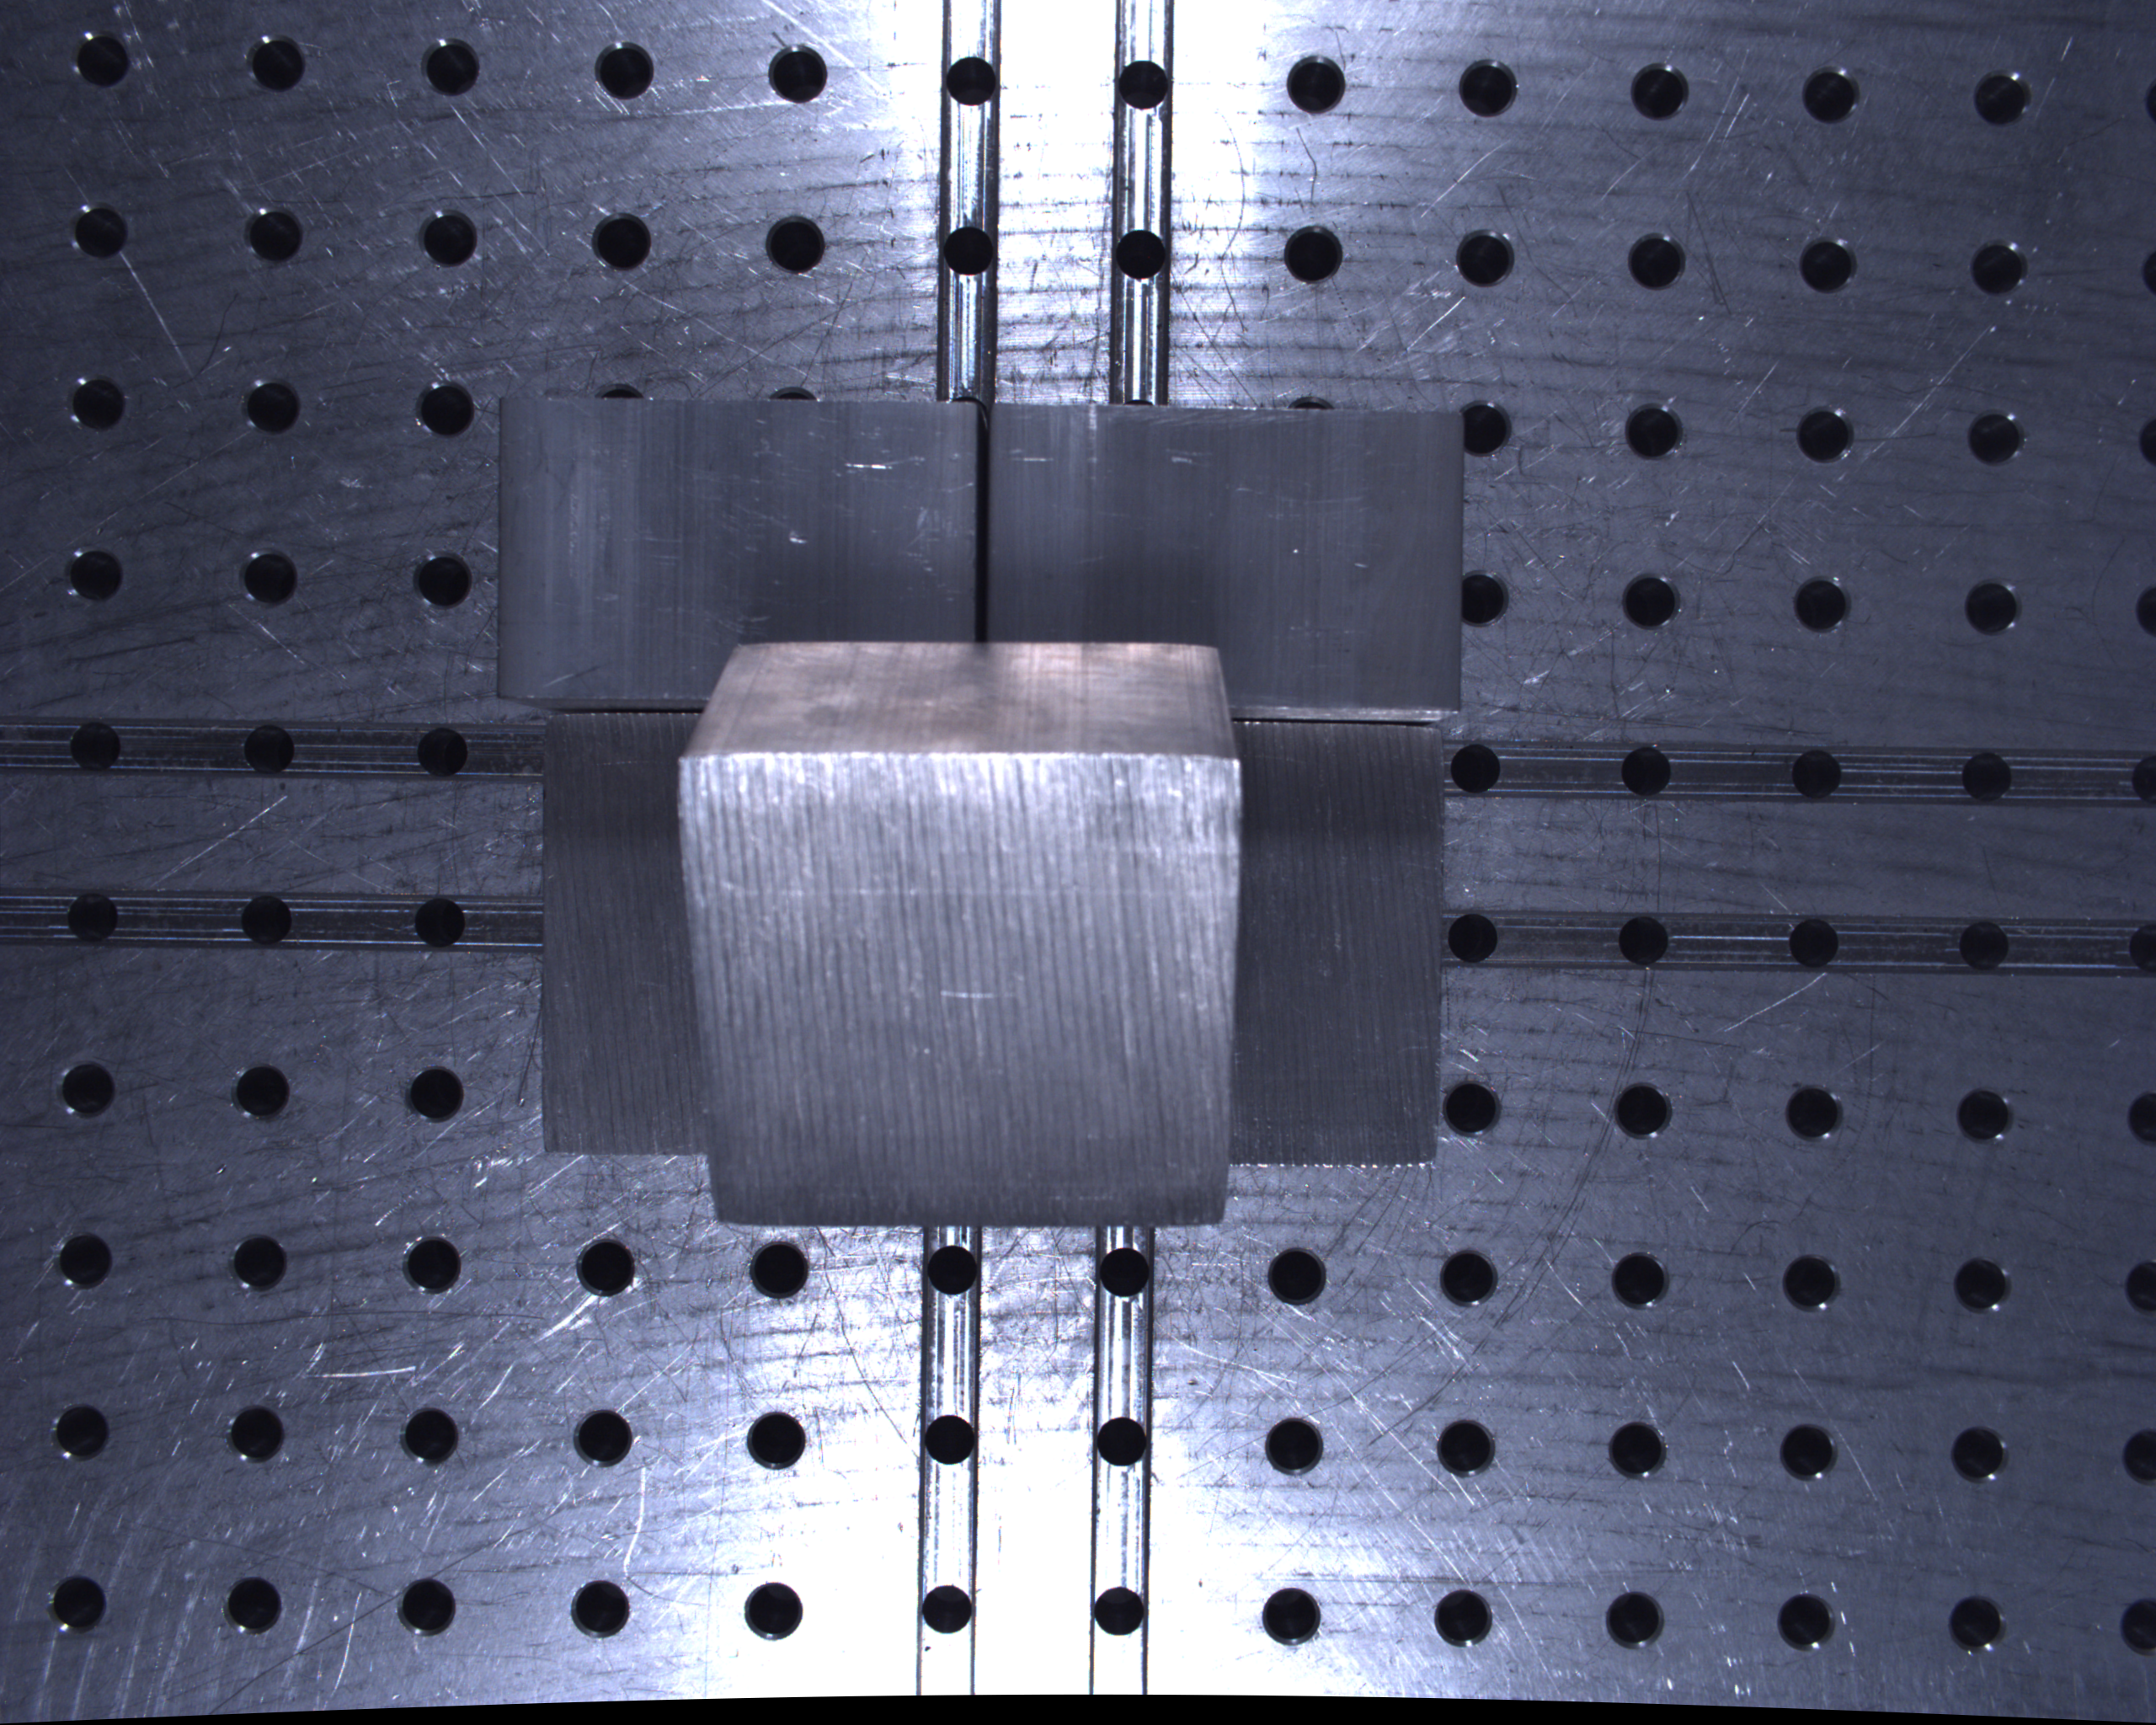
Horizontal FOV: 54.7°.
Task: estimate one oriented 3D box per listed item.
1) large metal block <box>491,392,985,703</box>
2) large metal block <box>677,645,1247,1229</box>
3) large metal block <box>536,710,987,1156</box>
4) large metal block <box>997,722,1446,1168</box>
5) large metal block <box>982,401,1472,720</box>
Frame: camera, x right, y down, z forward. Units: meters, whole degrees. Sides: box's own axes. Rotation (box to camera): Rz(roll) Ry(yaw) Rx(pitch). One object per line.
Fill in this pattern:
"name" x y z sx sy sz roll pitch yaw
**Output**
"large metal block" -0.056 -0.052 0.384 0.081 0.080 0.050 1 90 -1
"large metal block" -0.017 0.011 0.334 0.081 0.050 0.079 0 114 -1
"large metal block" -0.056 0.013 0.398 0.081 0.050 0.079 1 90 -1
"large metal block" 0.025 0.014 0.399 0.081 0.050 0.079 1 90 -1
"large metal block" 0.024 -0.051 0.385 0.081 0.080 0.050 1 90 -1
